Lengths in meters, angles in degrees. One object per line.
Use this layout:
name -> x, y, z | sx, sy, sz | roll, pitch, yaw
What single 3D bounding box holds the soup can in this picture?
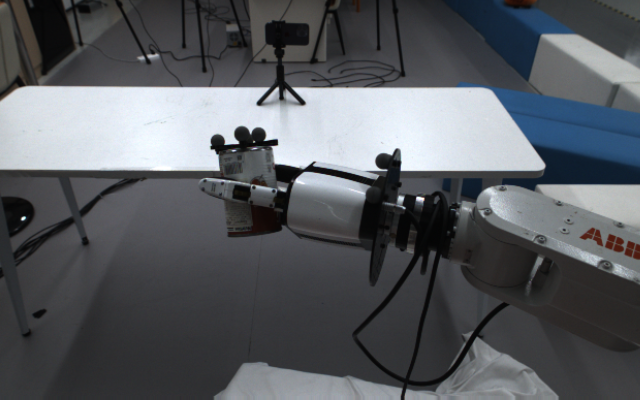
soup can -> -0.082, -0.010, 0.586 | 0.067, 0.101, 0.067 | -7, 3, 0
